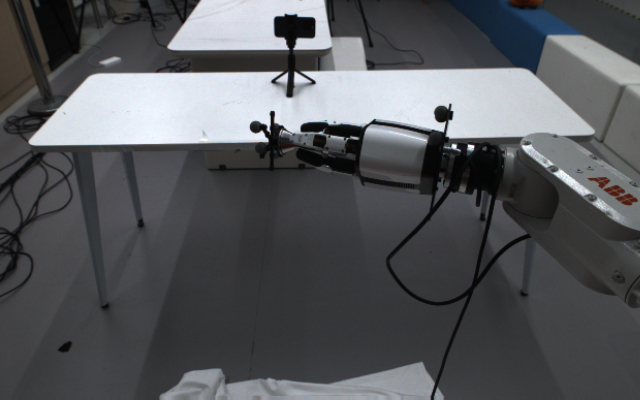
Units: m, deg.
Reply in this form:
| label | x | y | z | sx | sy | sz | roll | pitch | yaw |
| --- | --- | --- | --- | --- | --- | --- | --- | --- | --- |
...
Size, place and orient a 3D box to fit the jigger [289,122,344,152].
| label | x | y | z | sx | sy | sz | roll | pitch | yaw |
| --- | --- | --- | --- | --- | --- | --- | --- | --- | --- |
| jigger | -0.016 | -0.089 | 0.709 | 0.071 | 0.043 | 0.043 | 3 | 34 | 17 |
